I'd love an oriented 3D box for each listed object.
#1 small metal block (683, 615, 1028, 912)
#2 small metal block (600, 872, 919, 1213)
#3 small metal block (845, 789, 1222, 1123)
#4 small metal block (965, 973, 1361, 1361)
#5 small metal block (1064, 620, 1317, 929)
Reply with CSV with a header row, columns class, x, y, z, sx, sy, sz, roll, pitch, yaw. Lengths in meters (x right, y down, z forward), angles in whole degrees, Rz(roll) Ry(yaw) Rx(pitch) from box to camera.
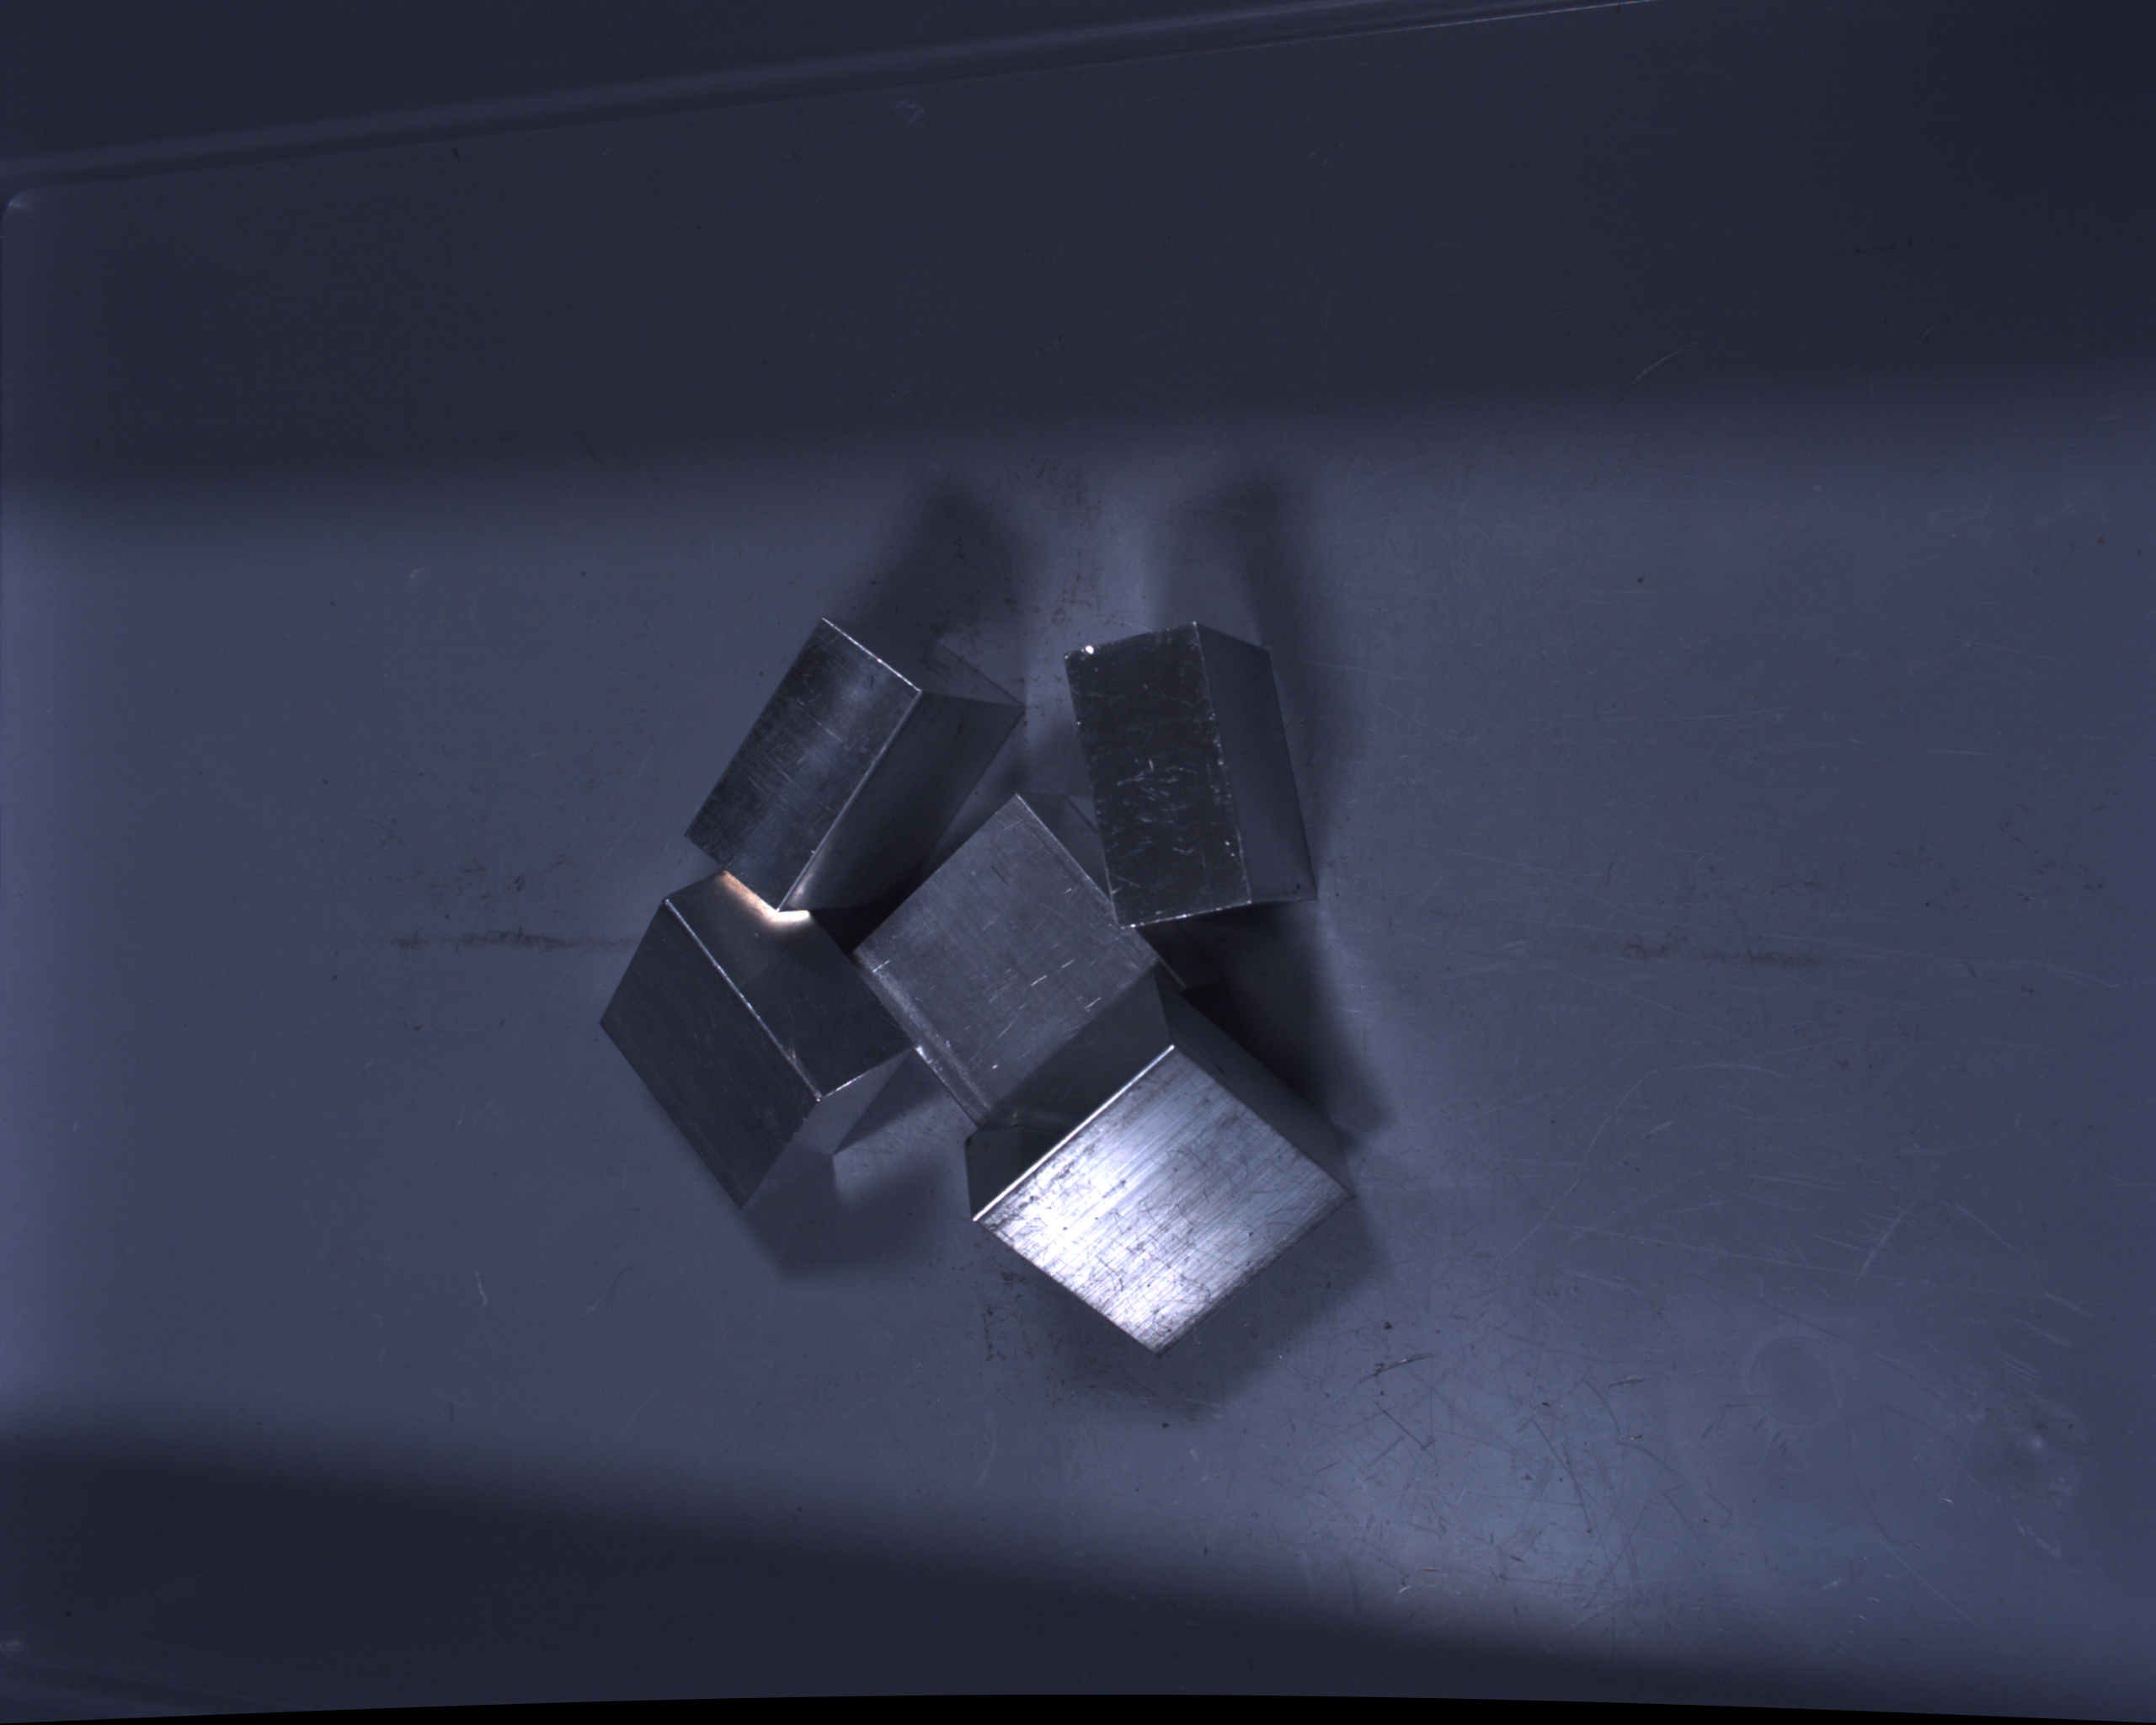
class,x,y,z,sx,sy,sz,roll,pitch,yaw
small metal block,-0.042,-0.018,0.409,0.025,0.050,0.050,38,102,16
small metal block,-0.065,0.034,0.418,0.050,0.025,0.050,51,138,12
small metal block,-0.009,0.021,0.410,0.050,0.025,0.050,-44,77,14
small metal block,0.015,0.057,0.389,0.050,0.025,0.050,-43,114,14
small metal block,0.022,-0.015,0.386,0.025,0.050,0.050,-12,86,18
